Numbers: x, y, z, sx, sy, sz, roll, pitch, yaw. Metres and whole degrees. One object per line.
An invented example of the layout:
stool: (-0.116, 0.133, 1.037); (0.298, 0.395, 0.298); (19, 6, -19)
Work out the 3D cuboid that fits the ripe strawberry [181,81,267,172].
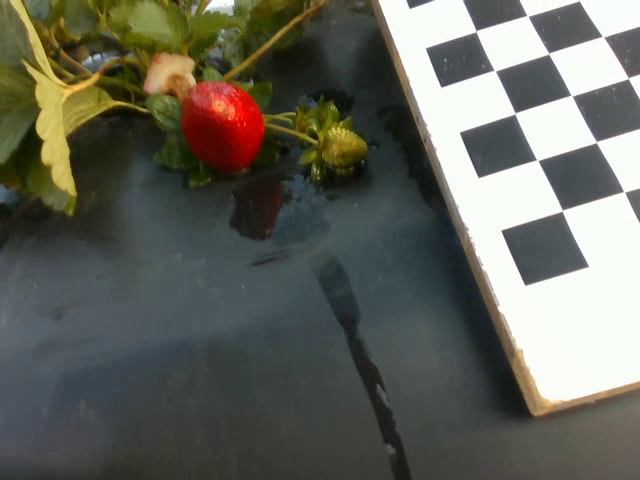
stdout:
ripe strawberry: (-0.047, -0.060, 0.280); (0.043, 0.052, 0.057); (-43, 5, -2)
